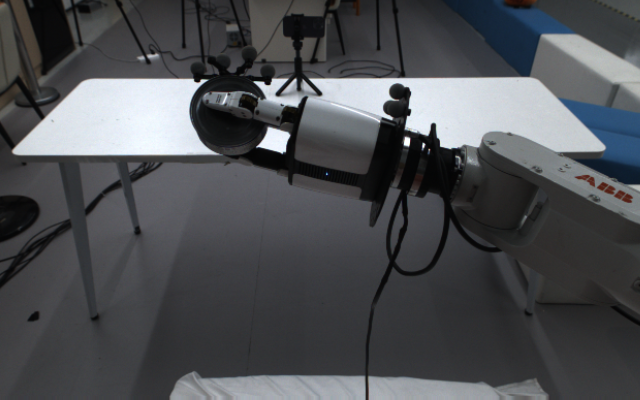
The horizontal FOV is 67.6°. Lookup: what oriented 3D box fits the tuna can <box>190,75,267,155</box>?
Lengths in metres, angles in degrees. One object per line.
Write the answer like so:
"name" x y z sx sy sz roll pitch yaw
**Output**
"tuna can" -0.098 -0.095 0.545 0.085 0.034 0.085 1 73 -4
